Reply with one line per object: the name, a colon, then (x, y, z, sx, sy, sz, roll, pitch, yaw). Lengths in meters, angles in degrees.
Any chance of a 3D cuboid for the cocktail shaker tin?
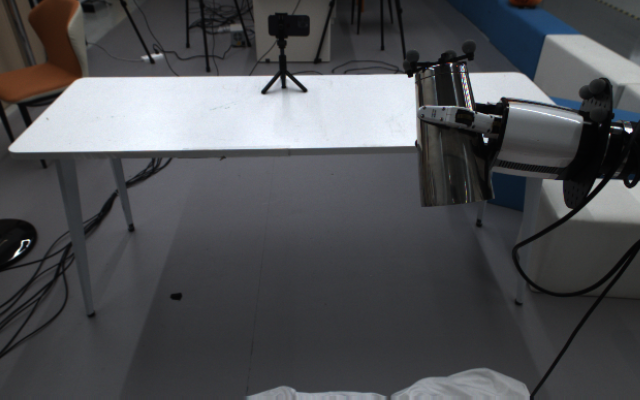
cocktail shaker tin: (0.166, -0.082, 0.620, 0.093, 0.170, 0.093, -8, 1, 0)
